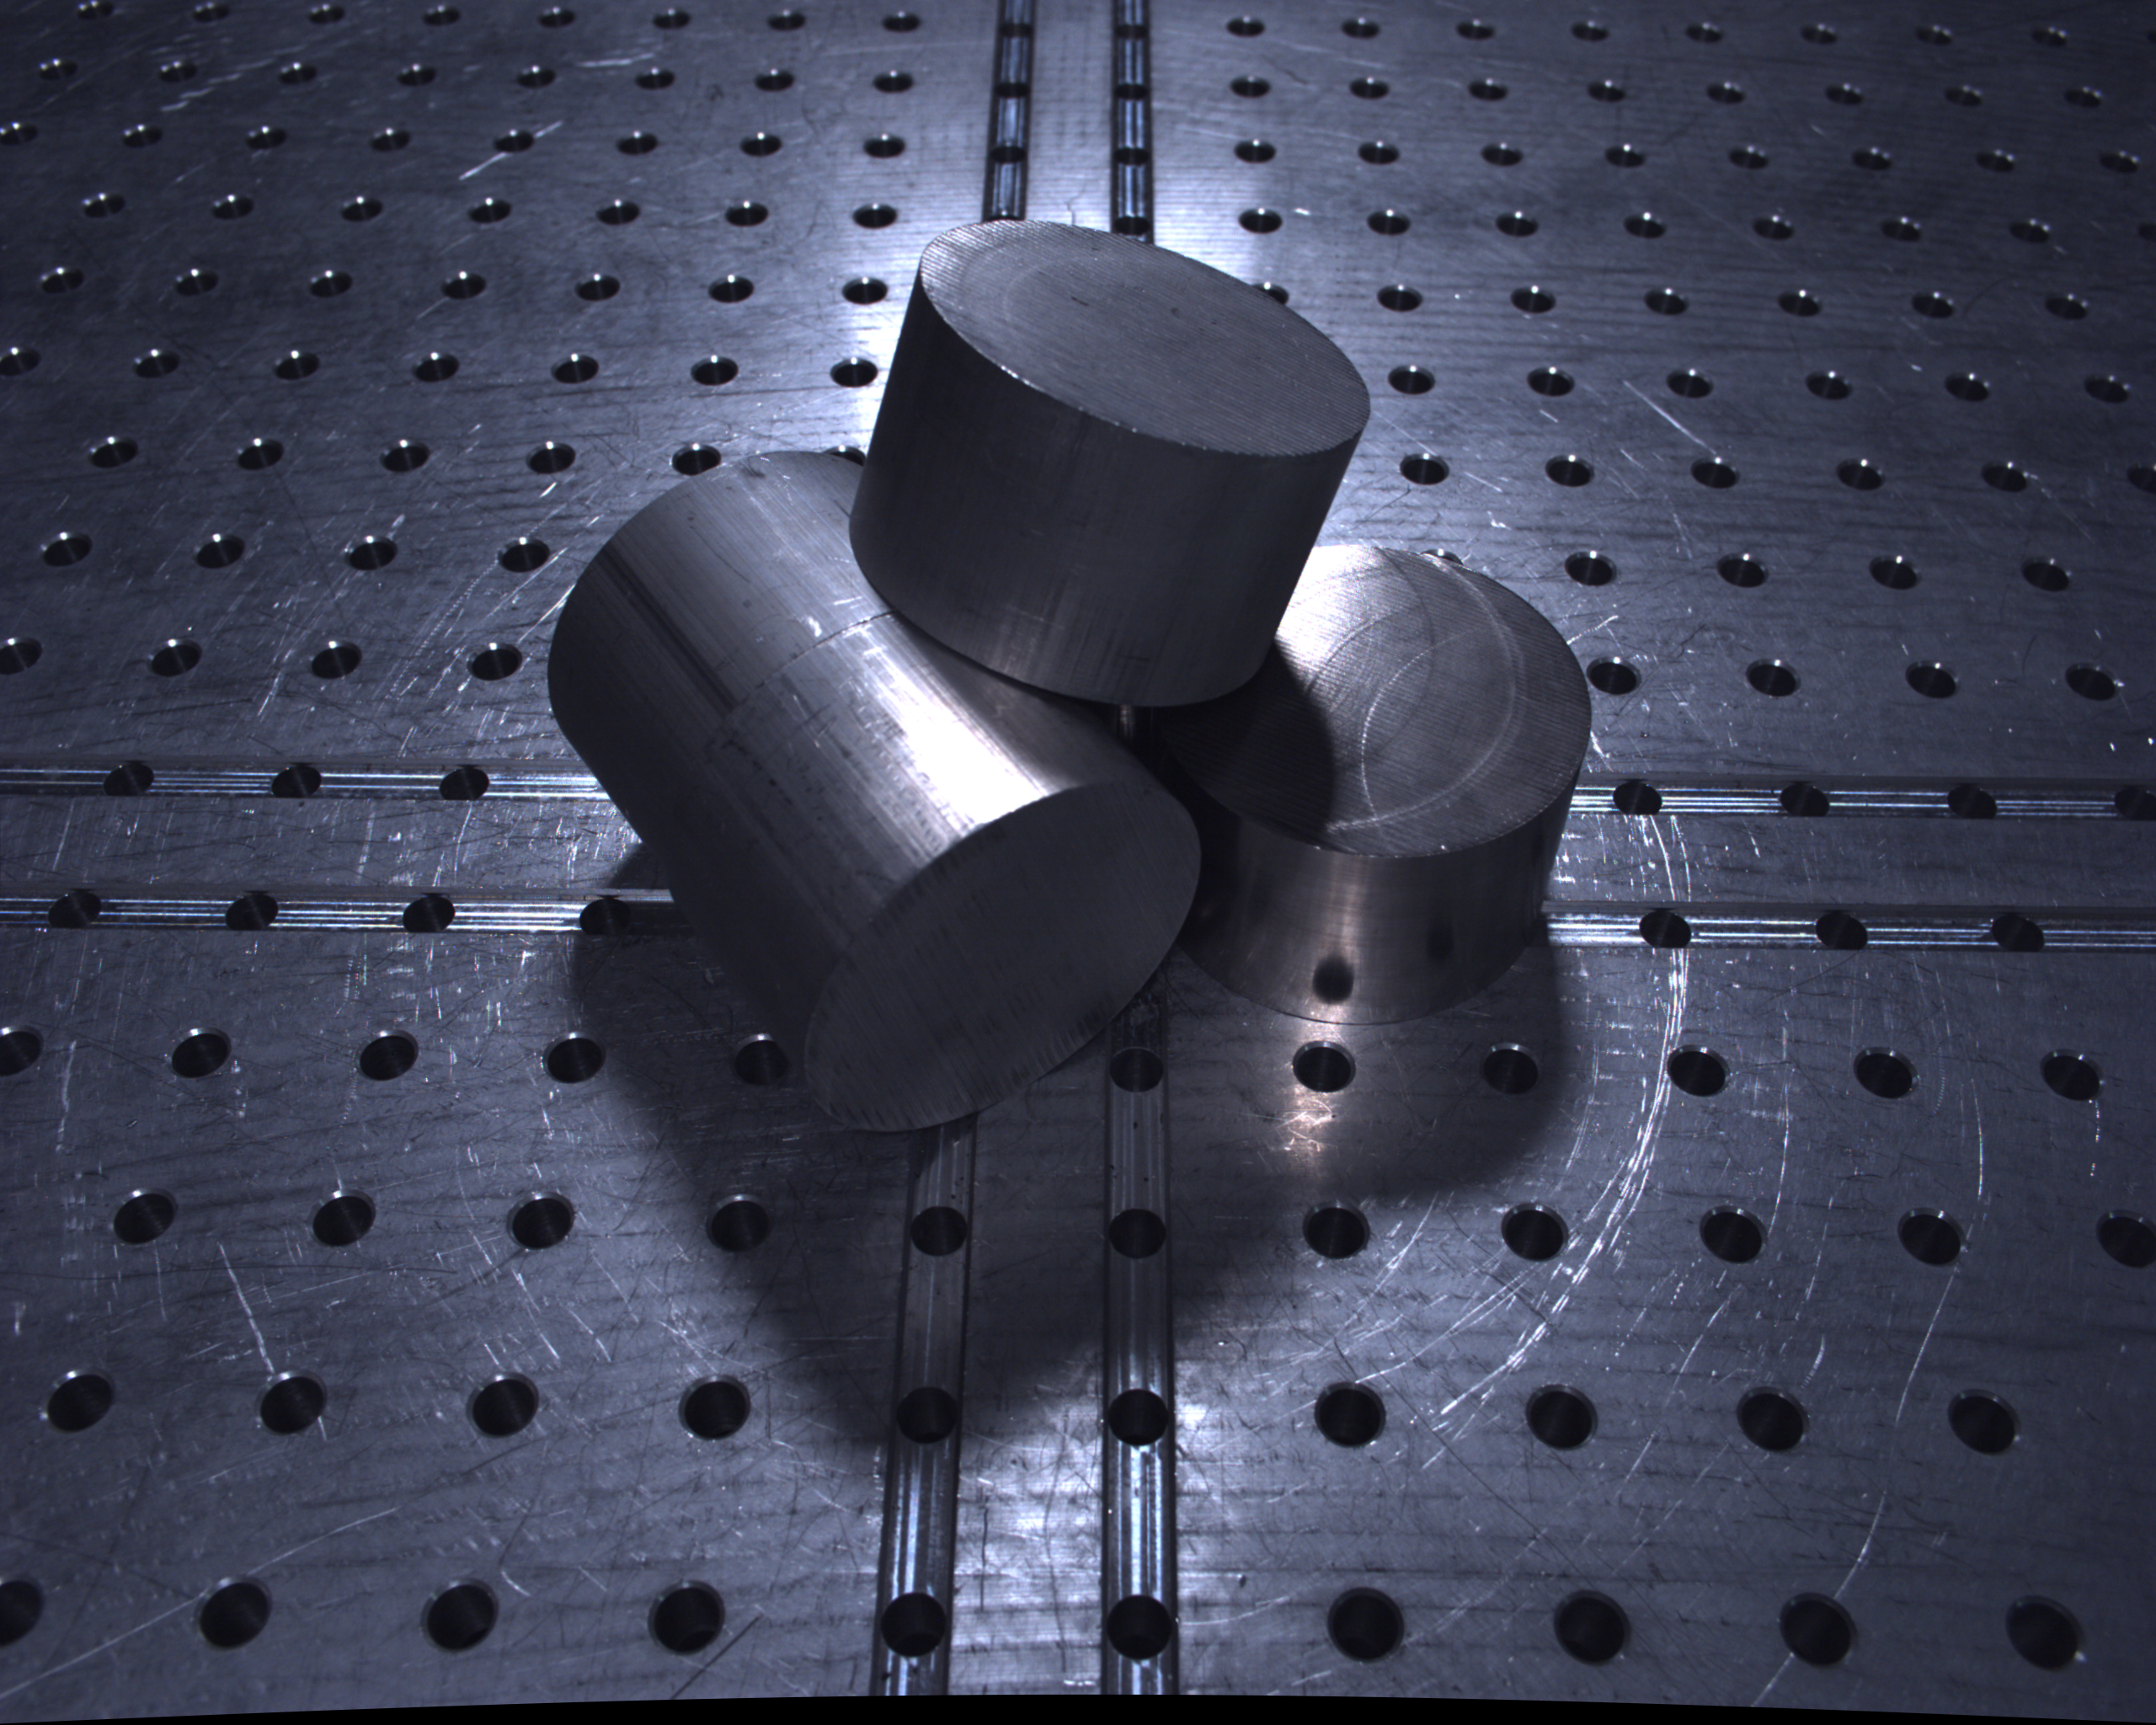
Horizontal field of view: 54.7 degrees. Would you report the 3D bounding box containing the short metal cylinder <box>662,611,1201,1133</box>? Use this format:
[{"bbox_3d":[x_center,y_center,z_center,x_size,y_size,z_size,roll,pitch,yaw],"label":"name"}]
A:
[{"bbox_3d":[-0.026,0.002,0.370,0.081,0.080,0.050,-27,56,-21],"label":"short metal cylinder"}]

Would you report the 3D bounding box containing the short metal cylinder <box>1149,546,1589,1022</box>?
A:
[{"bbox_3d":[0.054,-0.016,0.404,0.081,0.050,0.080,0,50,0],"label":"short metal cylinder"}]

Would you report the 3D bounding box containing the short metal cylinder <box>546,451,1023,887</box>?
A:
[{"bbox_3d":[-0.053,-0.031,0.397,0.081,0.080,0.050,-27,56,-21],"label":"short metal cylinder"}]

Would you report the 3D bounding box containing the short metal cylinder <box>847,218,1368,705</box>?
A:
[{"bbox_3d":[0.004,-0.072,0.368,0.081,0.050,0.080,14,36,-10],"label":"short metal cylinder"}]

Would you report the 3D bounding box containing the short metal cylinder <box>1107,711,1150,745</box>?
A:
[{"bbox_3d":[0.009,-0.067,0.447,0.081,0.050,0.080,0,50,0],"label":"short metal cylinder"}]
